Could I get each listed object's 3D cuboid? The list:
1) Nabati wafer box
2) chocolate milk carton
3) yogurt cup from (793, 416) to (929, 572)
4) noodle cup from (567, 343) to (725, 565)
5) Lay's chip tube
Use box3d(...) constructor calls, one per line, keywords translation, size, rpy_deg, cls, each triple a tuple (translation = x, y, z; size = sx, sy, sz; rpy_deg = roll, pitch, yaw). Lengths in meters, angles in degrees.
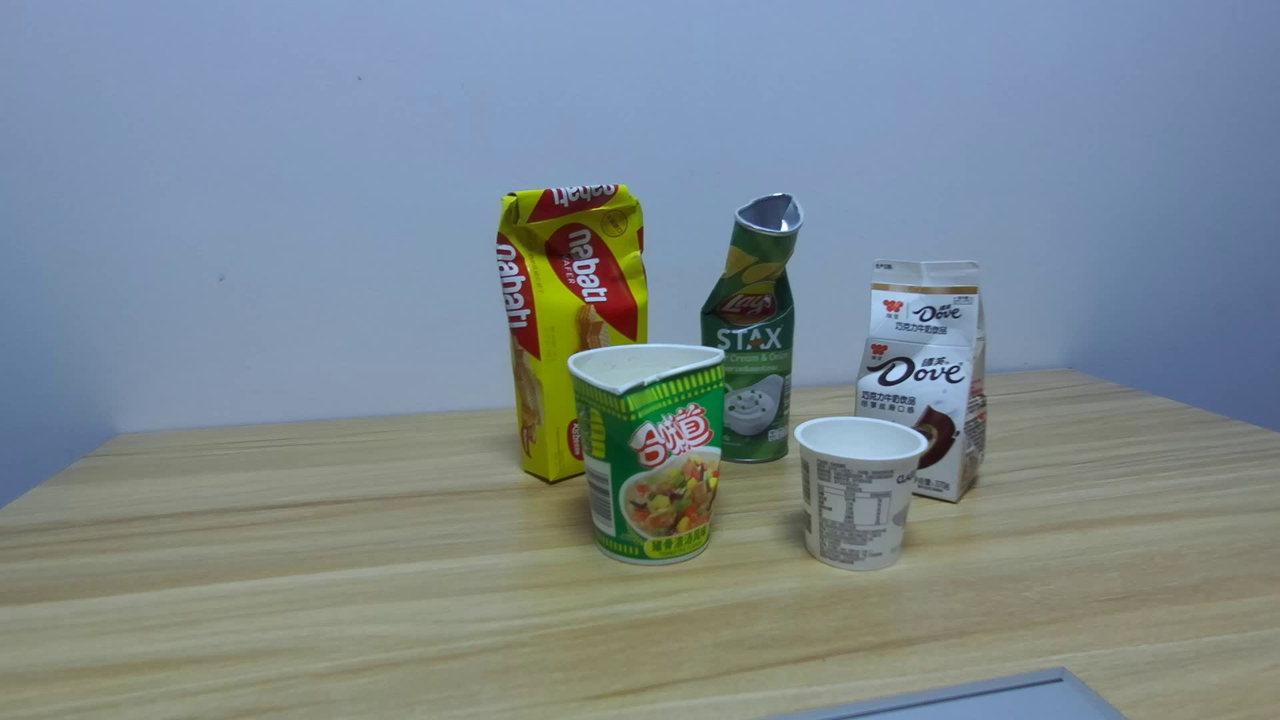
box3d(translation=(-0.044, -0.021, 0.520), size=(0.114, 0.205, 0.042), rpy_deg=(-13, 17, -36), cls="Nabati wafer box")
box3d(translation=(0.198, 0.009, 0.490), size=(0.084, 0.155, 0.073), rpy_deg=(9, 16, 31), cls="chocolate milk carton")
box3d(translation=(0.121, 0.075, 0.398), size=(0.072, 0.068, 0.072), rpy_deg=(-1, 14, 1), cls="yogurt cup")
box3d(translation=(0.007, 0.052, 0.414), size=(0.094, 0.109, 0.086), rpy_deg=(-8, 16, -26), cls="noodle cup")
box3d(translation=(0.088, -0.020, 0.534), size=(0.079, 0.199, 0.070), rpy_deg=(-10, 24, -25), cls="Lay's chip tube")
